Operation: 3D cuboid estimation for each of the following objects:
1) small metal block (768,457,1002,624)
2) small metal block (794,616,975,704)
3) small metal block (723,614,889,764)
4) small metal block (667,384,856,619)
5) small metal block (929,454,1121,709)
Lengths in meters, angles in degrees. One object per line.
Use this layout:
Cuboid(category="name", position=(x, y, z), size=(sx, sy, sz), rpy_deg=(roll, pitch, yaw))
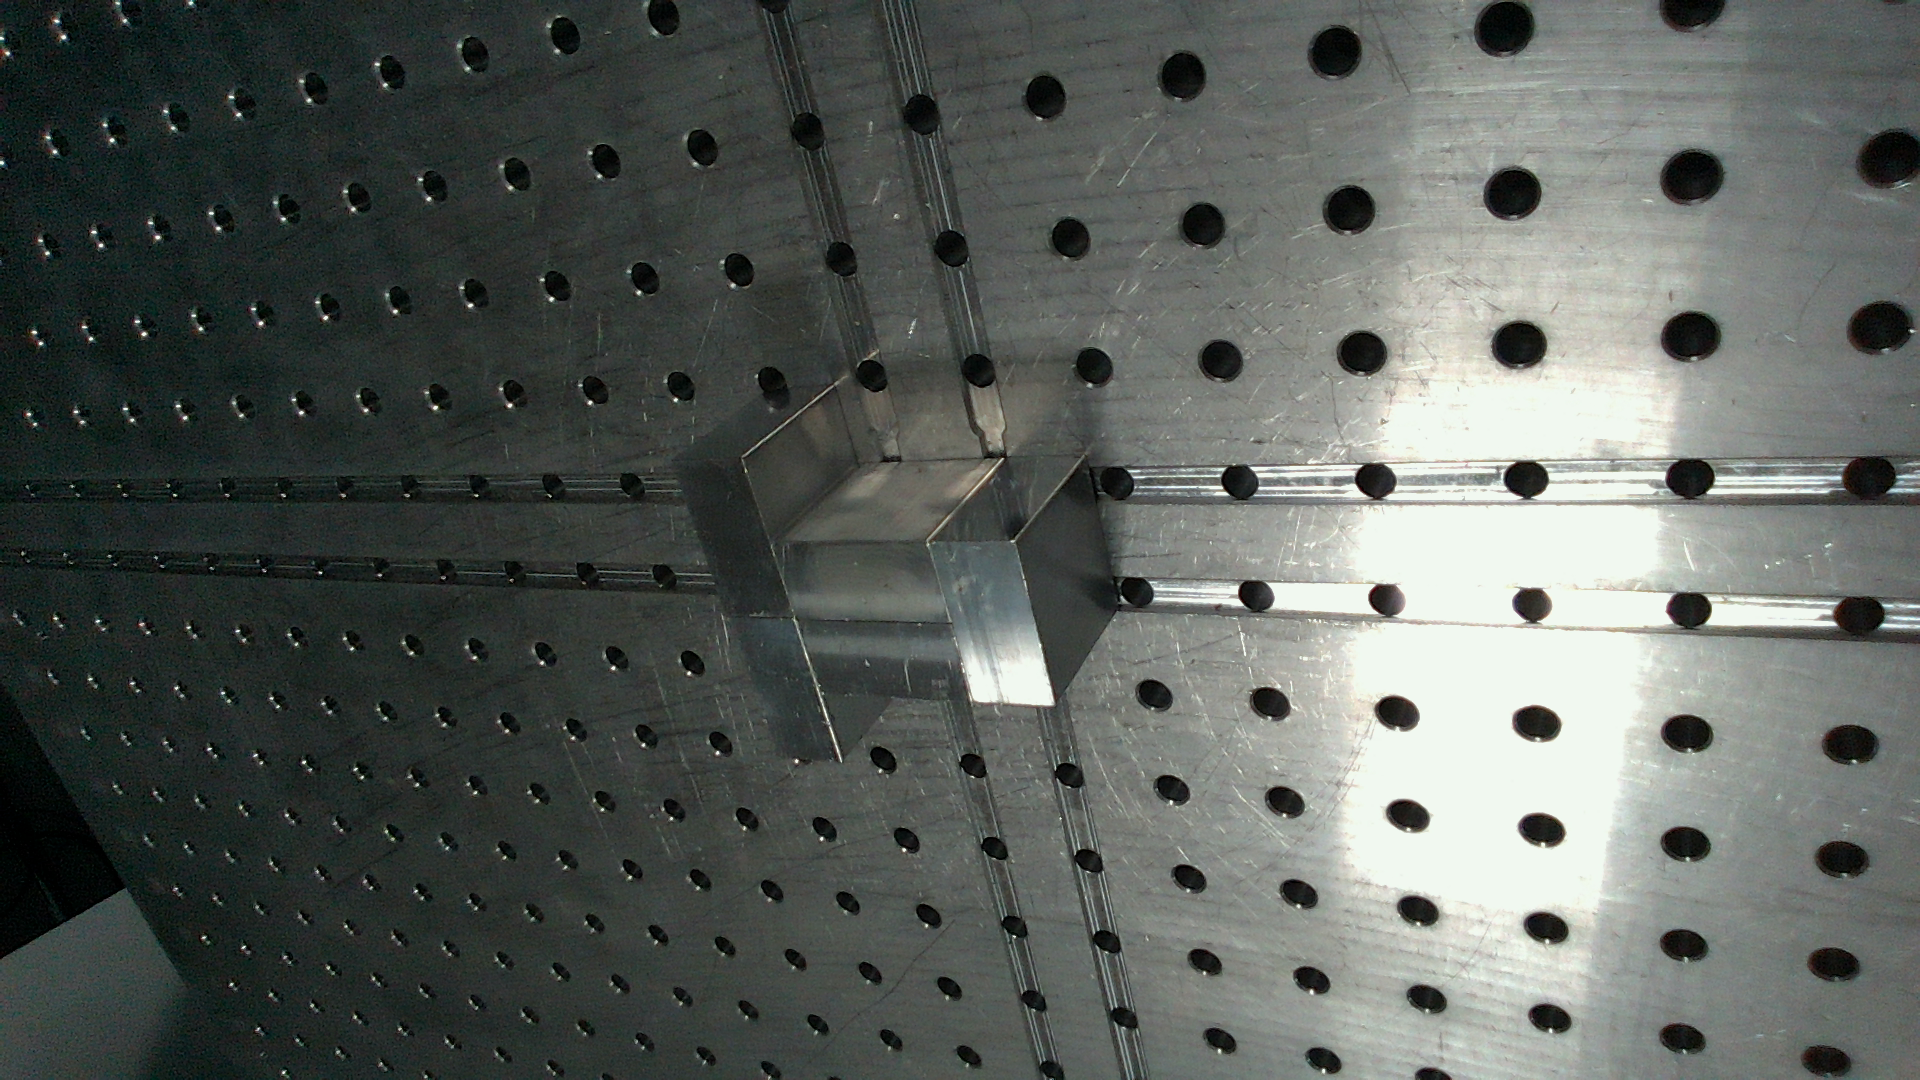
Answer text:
Cuboid(category="small metal block", position=(-0.017, -0.001, 0.388), size=(0.050, 0.050, 0.025), rpy_deg=(0, 118, 28))
Cuboid(category="small metal block", position=(-0.011, 0.022, 0.398), size=(0.050, 0.050, 0.025), rpy_deg=(0, 118, 28))
Cuboid(category="small metal block", position=(-0.041, 0.032, 0.421), size=(0.025, 0.050, 0.050), rpy_deg=(0, 118, 29))
Cuboid(category="small metal block", position=(-0.053, -0.012, 0.400), size=(0.025, 0.050, 0.050), rpy_deg=(0, 118, 29))
Cuboid(category="small metal block", position=(0.019, 0.010, 0.375), size=(0.025, 0.050, 0.050), rpy_deg=(0, 118, 29))
